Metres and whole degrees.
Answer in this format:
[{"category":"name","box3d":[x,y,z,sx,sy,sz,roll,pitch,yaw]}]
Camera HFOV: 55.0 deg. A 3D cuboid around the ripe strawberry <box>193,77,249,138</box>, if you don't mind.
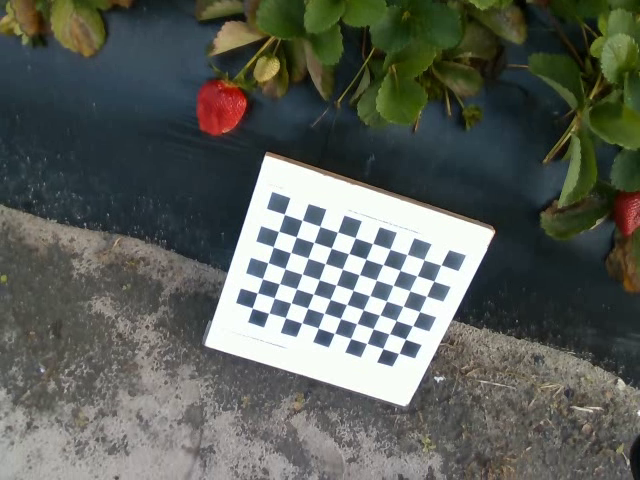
[{"category":"ripe strawberry","box3d":[-0.126,-0.161,0.743,0.067,0.075,0.039,23,20,-5]}]
